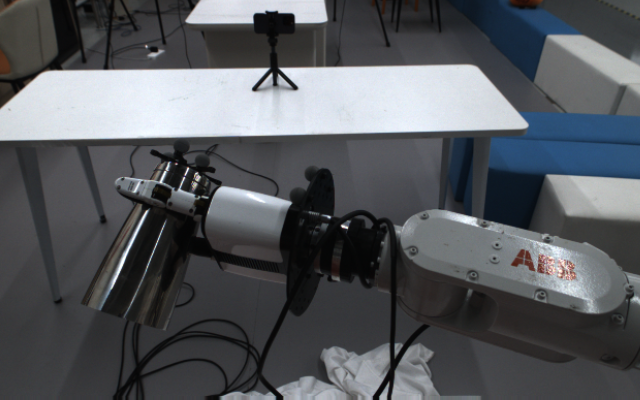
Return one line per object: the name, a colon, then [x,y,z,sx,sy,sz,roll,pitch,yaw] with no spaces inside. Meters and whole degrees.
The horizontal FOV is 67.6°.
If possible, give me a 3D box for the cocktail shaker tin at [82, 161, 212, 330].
cocktail shaker tin: [-0.182,0.045,0.538,0.093,0.093,0.170,13,71,16]
